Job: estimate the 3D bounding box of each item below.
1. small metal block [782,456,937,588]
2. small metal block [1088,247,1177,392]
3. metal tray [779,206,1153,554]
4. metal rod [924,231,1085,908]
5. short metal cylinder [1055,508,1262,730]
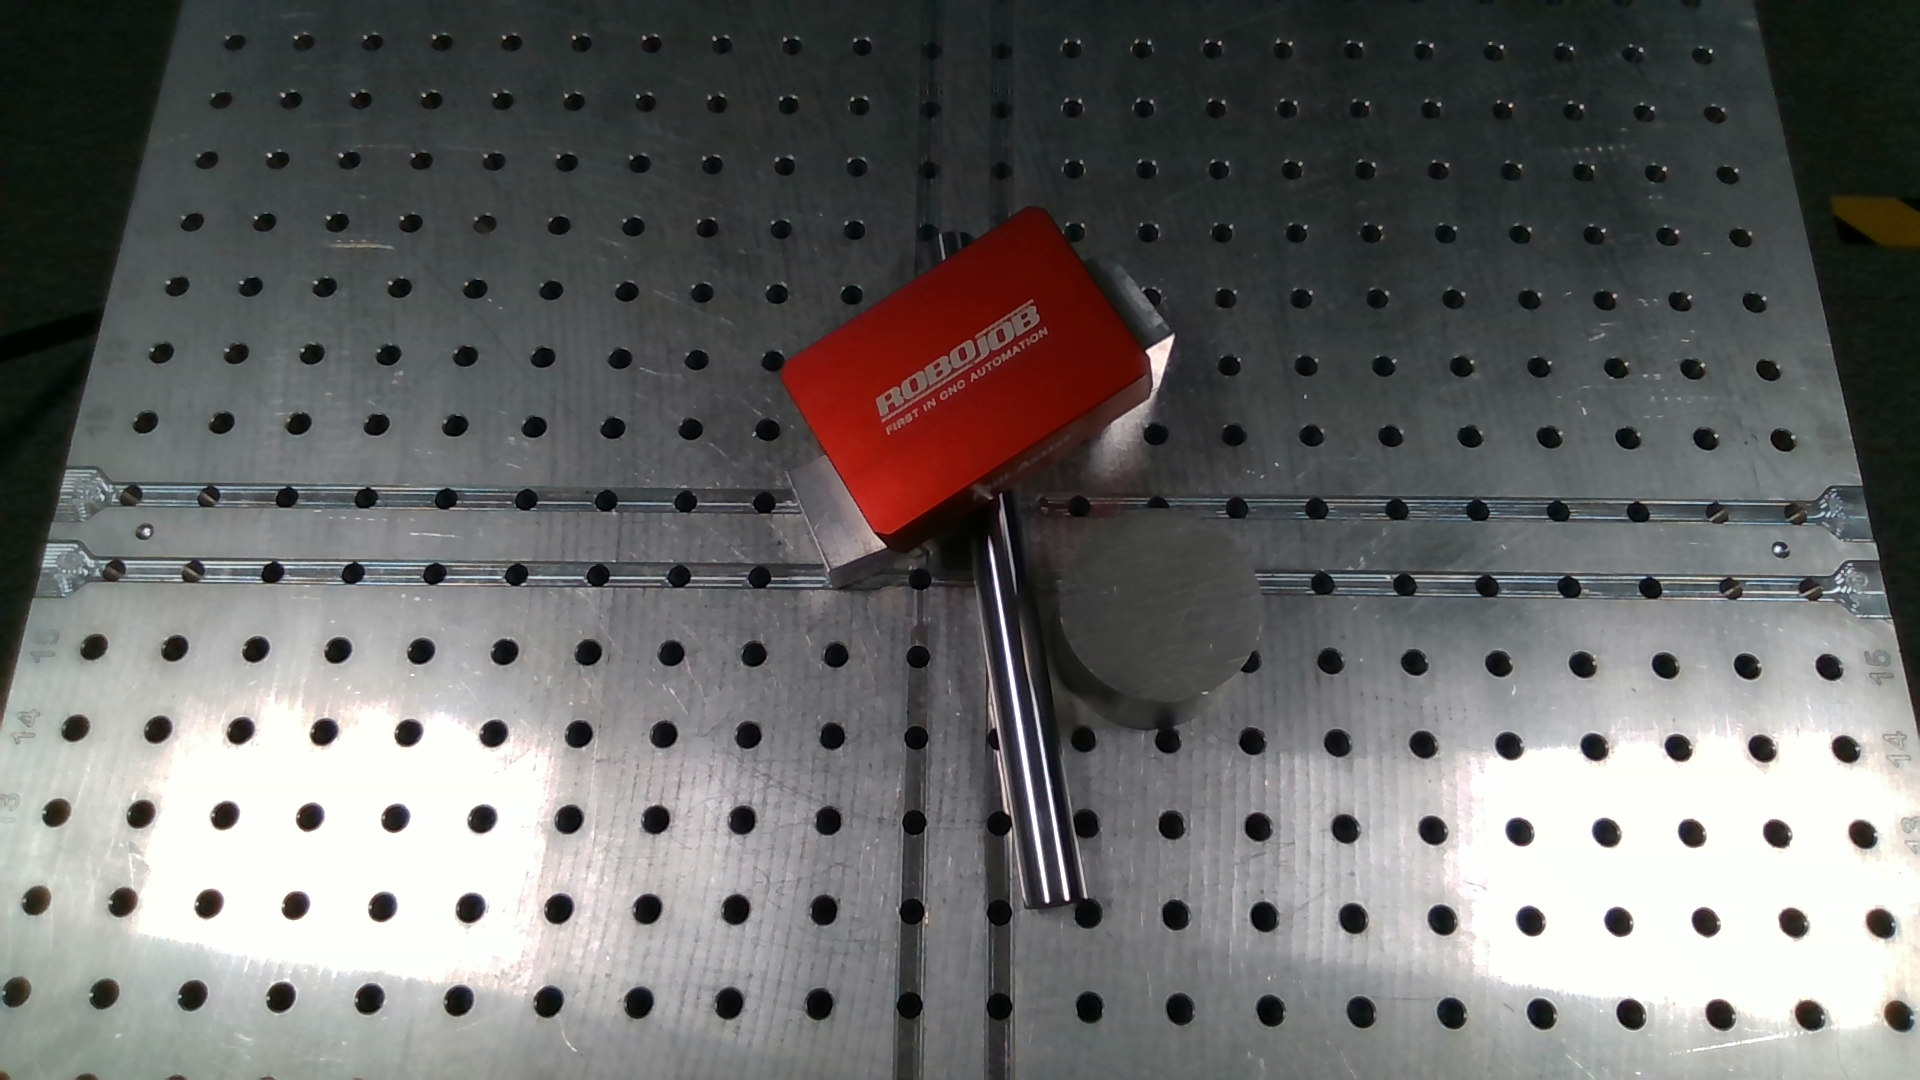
[{"bbox_3d":[-0.043,-0.013,0.594,0.050,0.025,0.050,-22,72,-8],"label":"small metal block"},{"bbox_3d":[0.068,-0.092,0.610,0.025,0.050,0.050,-30,73,-10],"label":"small metal block"},{"bbox_3d":[0.003,-0.066,0.570,0.130,0.030,0.090,-32,73,1],"label":"metal tray"},{"bbox_3d":[0.016,0.003,0.590,0.025,0.025,0.299,-8,71,-3],"label":"metal rod"},{"bbox_3d":[0.079,0.033,0.565,0.080,0.050,0.080,0,70,0],"label":"short metal cylinder"}]
